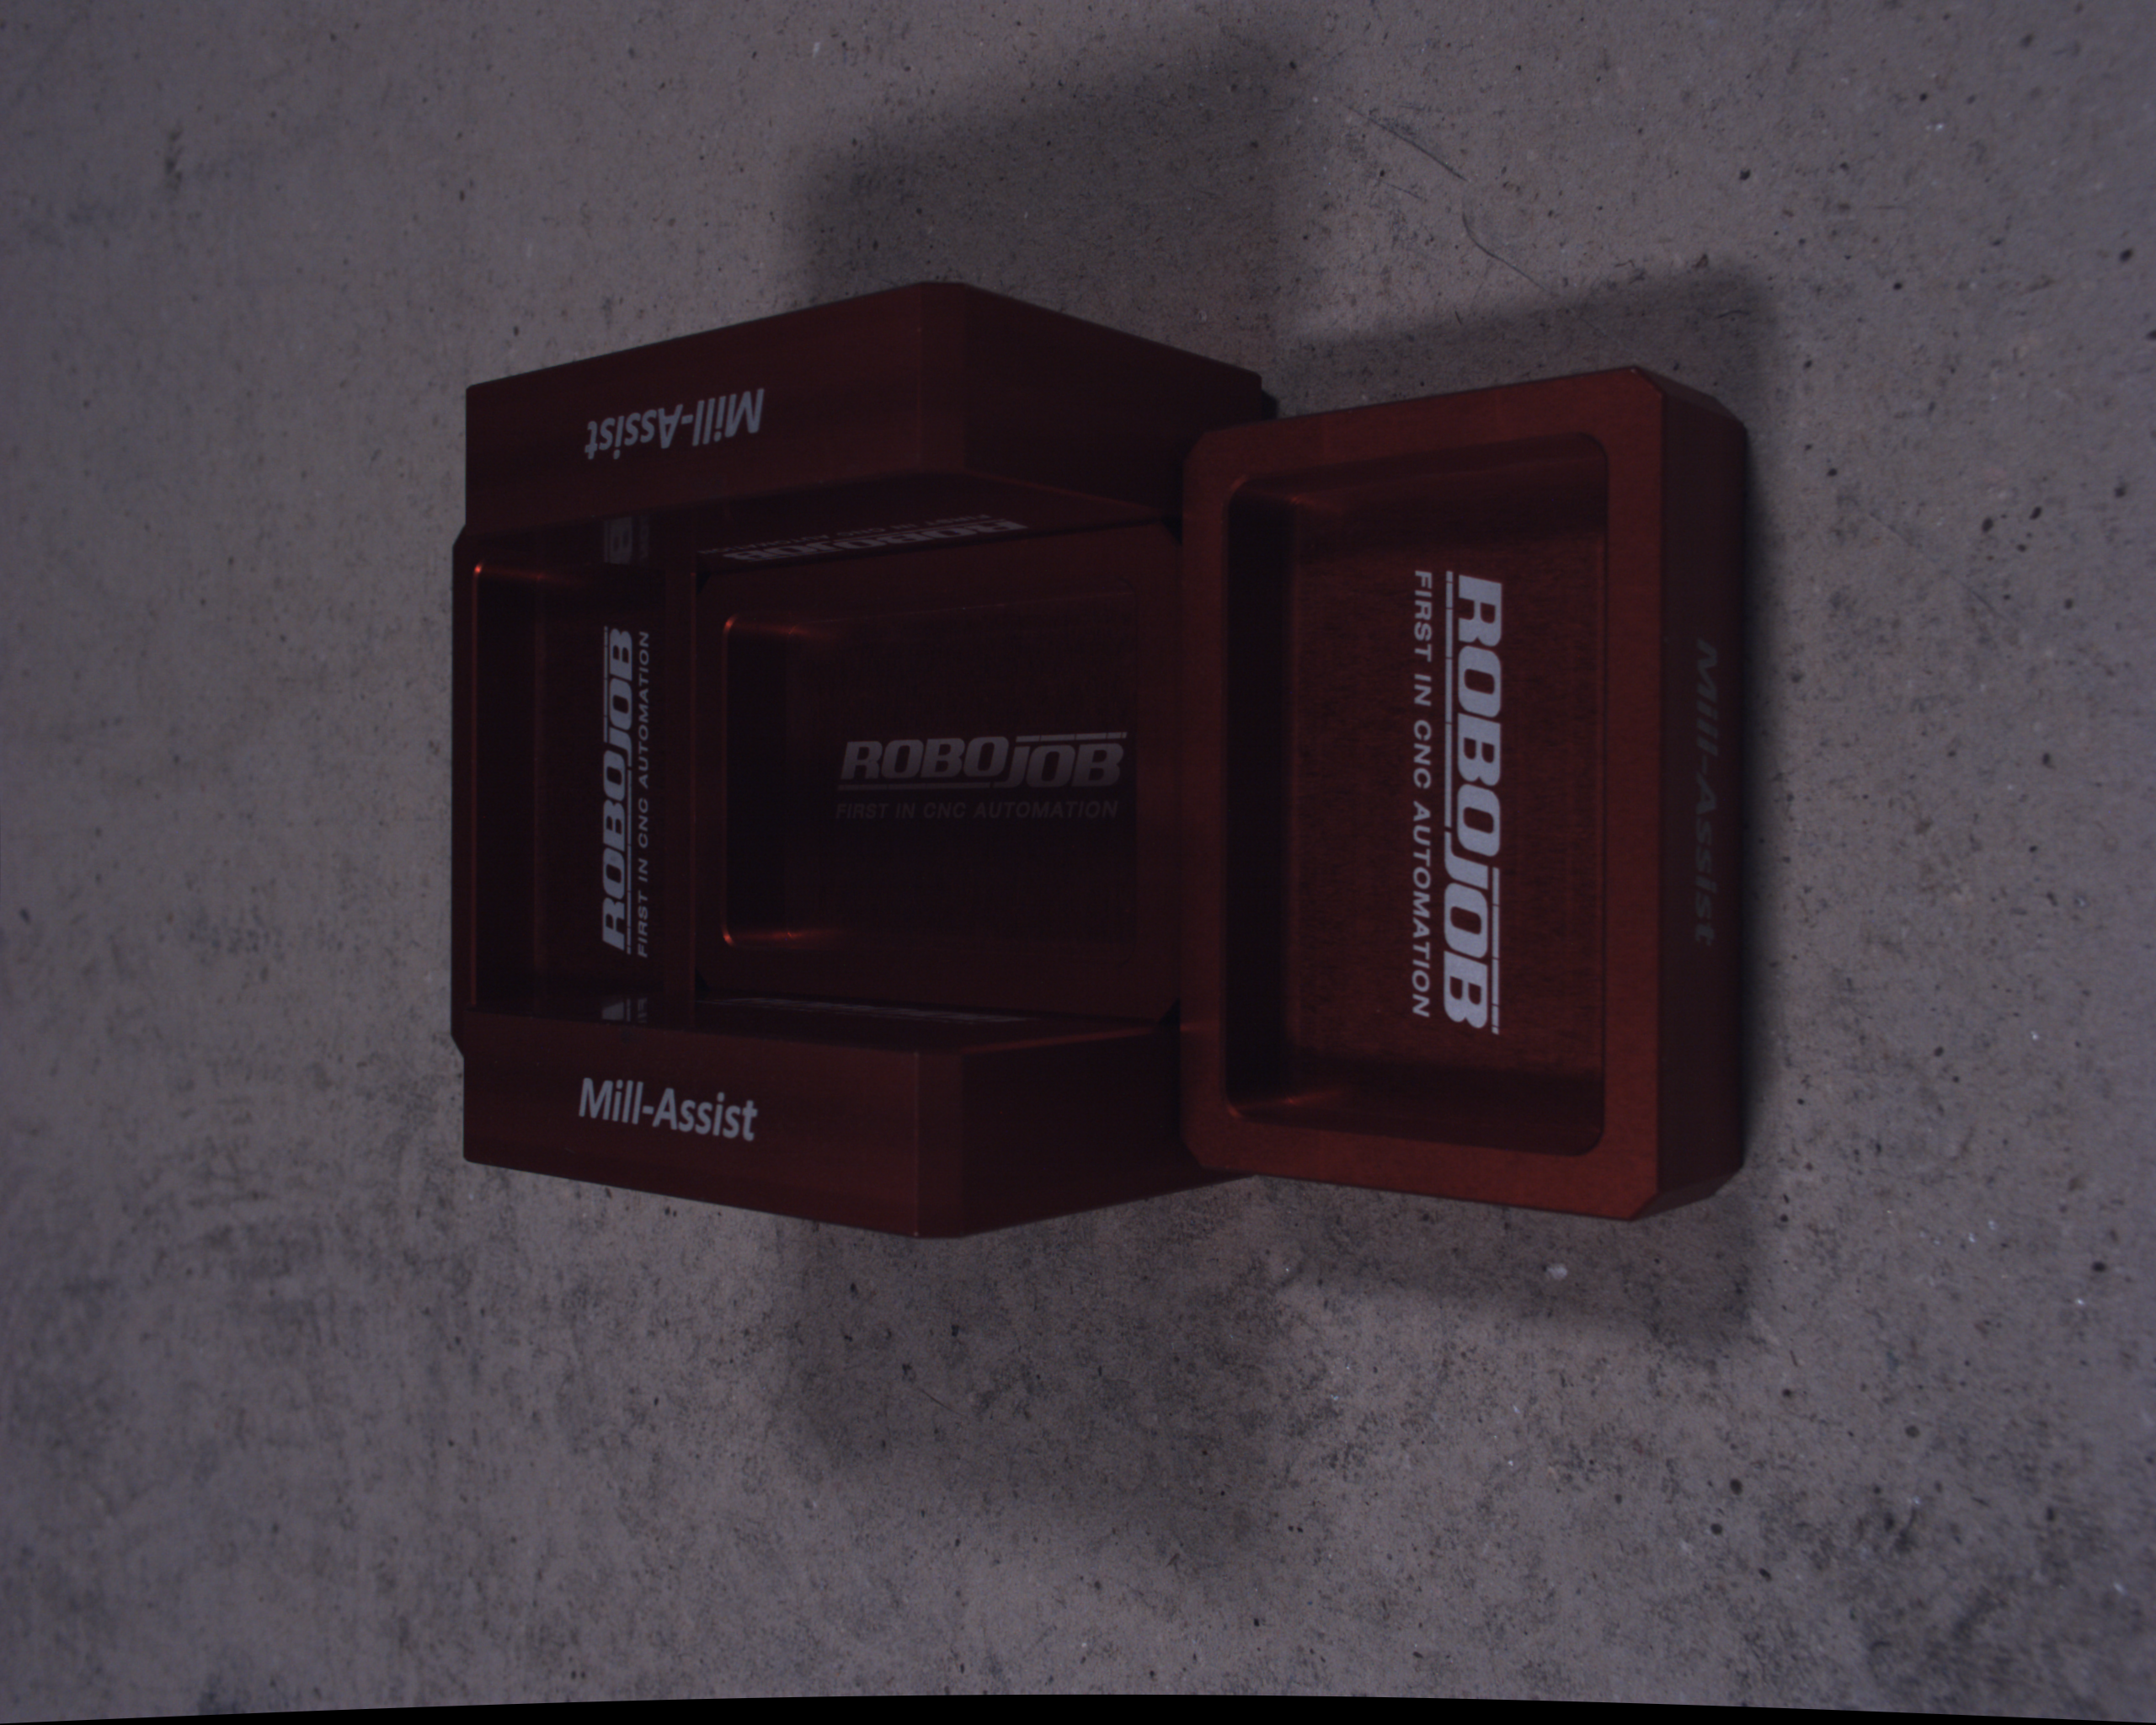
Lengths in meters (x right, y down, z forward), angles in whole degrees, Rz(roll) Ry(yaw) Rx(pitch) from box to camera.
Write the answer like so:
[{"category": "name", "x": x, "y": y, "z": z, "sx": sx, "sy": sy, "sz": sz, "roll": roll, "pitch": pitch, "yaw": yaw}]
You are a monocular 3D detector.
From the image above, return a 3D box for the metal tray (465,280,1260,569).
[{"category": "metal tray", "x": -0.042, "y": -0.077, "z": 0.397, "sx": 0.130, "sy": 0.091, "sz": 0.030, "roll": 1, "pitch": 91, "yaw": 39}]

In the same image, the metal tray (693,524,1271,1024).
[{"category": "metal tray", "x": -0.024, "y": -0.017, "z": 0.420, "sx": 0.130, "sy": 0.030, "sz": 0.089, "roll": 1, "pitch": 91, "yaw": 39}]

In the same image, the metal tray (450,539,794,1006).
[{"category": "metal tray", "x": -0.108, "y": -0.017, "z": 0.490, "sx": 0.090, "sy": 0.030, "sz": 0.129, "roll": 1, "pitch": 90, "yaw": 39}]

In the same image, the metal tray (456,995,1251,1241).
[{"category": "metal tray", "x": -0.044, "y": 0.043, "z": 0.396, "sx": 0.130, "sy": 0.091, "sz": 0.030, "roll": 1, "pitch": 91, "yaw": 39}]

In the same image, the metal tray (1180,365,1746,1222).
[{"category": "metal tray", "x": 0.062, "y": -0.011, "z": 0.350, "sx": 0.090, "sy": 0.030, "sz": 0.129, "roll": 1, "pitch": 90, "yaw": 39}]
